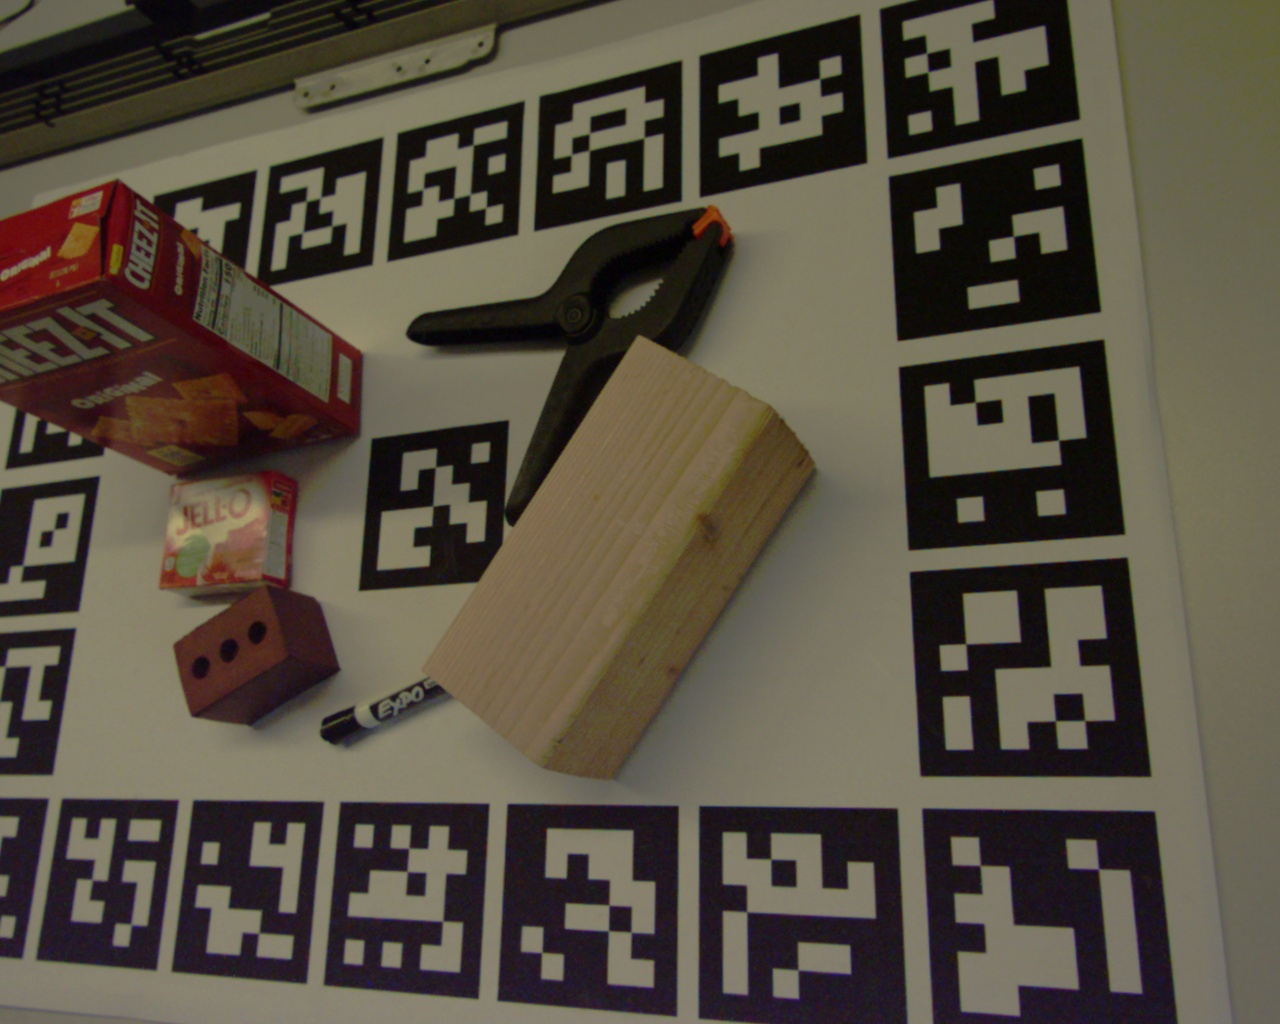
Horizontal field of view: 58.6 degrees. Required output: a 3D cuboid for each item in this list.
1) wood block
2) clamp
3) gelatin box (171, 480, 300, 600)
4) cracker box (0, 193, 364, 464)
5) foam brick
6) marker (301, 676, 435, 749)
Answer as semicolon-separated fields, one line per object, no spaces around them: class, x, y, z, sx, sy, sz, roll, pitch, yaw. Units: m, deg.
wood block;-0.020;0.035;0.633;0.091;0.090;0.206;34;89;29
clamp;-0.045;-0.102;0.705;0.203;0.036;0.167;-36;66;12
gelatin box;-0.279;0.020;0.784;0.090;0.030;0.073;-6;76;22
cracker box;-0.302;-0.101;0.716;0.166;0.211;0.072;-8;72;20
foam brick;-0.248;0.093;0.736;0.078;0.051;0.053;-30;68;14
marker;-0.160;0.119;0.706;0.122;0.019;0.020;-25;70;16
